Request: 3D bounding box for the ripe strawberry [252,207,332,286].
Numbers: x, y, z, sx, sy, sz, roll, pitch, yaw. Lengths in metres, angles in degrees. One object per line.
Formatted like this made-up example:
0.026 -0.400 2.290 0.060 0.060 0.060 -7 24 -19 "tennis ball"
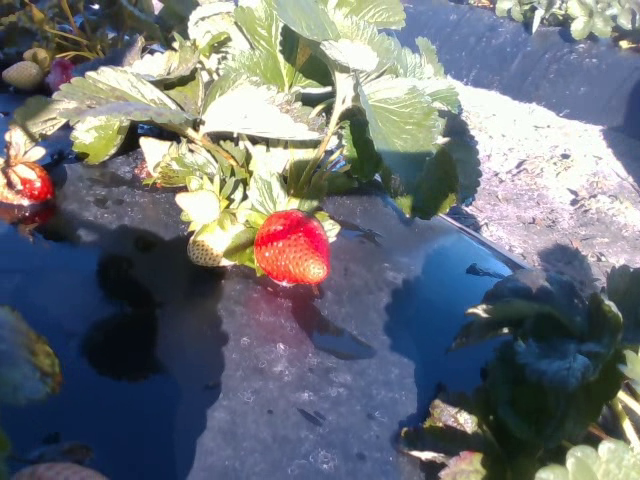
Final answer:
-0.010 0.009 0.323 0.049 0.052 0.064 -37 36 -9 "ripe strawberry"
